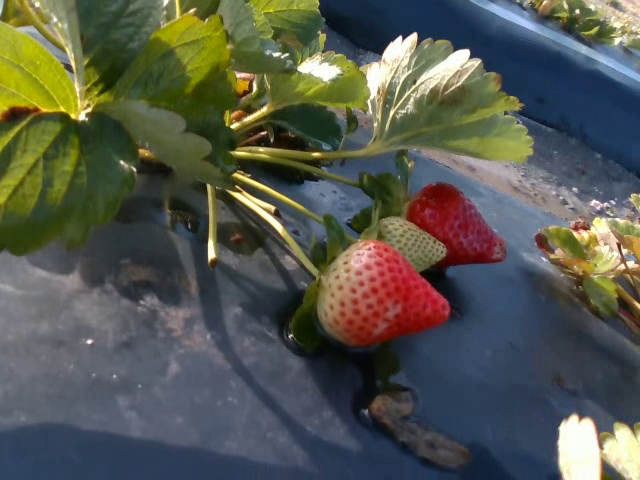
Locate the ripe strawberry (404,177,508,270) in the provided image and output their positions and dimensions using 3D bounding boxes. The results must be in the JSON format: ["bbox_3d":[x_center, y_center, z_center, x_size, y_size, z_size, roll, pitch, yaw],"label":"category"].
[{"bbox_3d":[0.071,-0.004,0.306,0.064,0.049,0.050,35,-18,1],"label":"ripe strawberry"}]
